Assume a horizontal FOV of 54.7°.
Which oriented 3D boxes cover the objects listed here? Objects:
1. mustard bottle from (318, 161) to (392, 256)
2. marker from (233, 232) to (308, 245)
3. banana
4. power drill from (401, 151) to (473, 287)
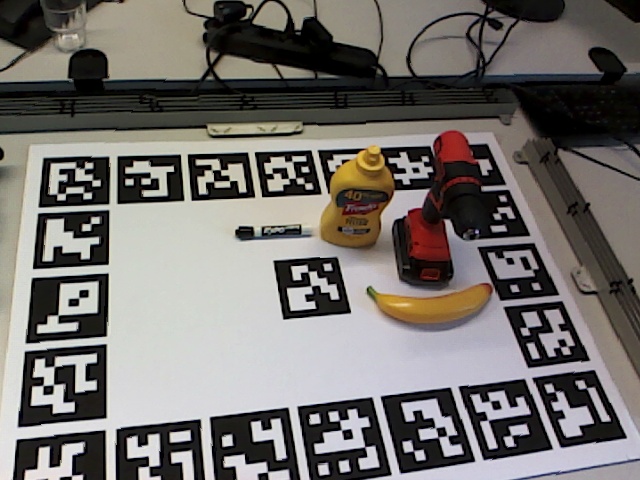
[{"bbox_3d":[0.057,-0.050,0.944,0.096,0.191,0.058,7,54,-6],"label":"mustard bottle"},{"bbox_3d":[-0.080,-0.003,0.994,0.121,0.019,0.020,-1,56,-10],"label":"marker"},{"bbox_3d":[0.163,0.115,0.941,0.197,0.039,0.074,3,56,-5],"label":"banana"},{"bbox_3d":[0.173,-0.012,0.916,0.057,0.187,0.185,9,51,-6],"label":"power drill"}]
